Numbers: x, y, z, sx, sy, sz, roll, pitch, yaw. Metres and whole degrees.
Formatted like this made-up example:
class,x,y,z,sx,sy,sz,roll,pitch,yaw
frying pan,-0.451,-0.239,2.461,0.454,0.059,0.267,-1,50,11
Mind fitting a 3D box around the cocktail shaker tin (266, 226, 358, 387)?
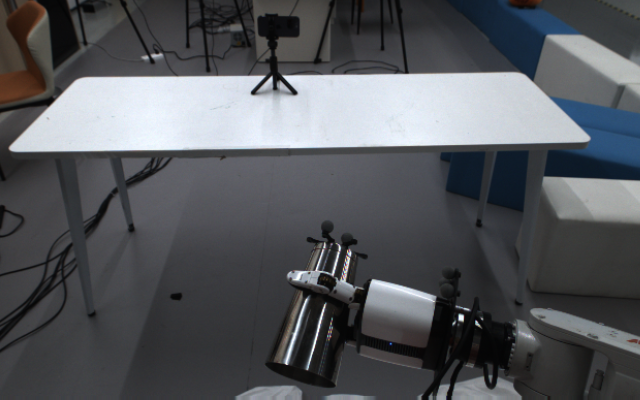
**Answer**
class,x,y,z,sx,sy,sz,roll,pitch,yaw
cocktail shaker tin,-0.002,0.144,0.632,0.093,0.093,0.170,12,60,13
